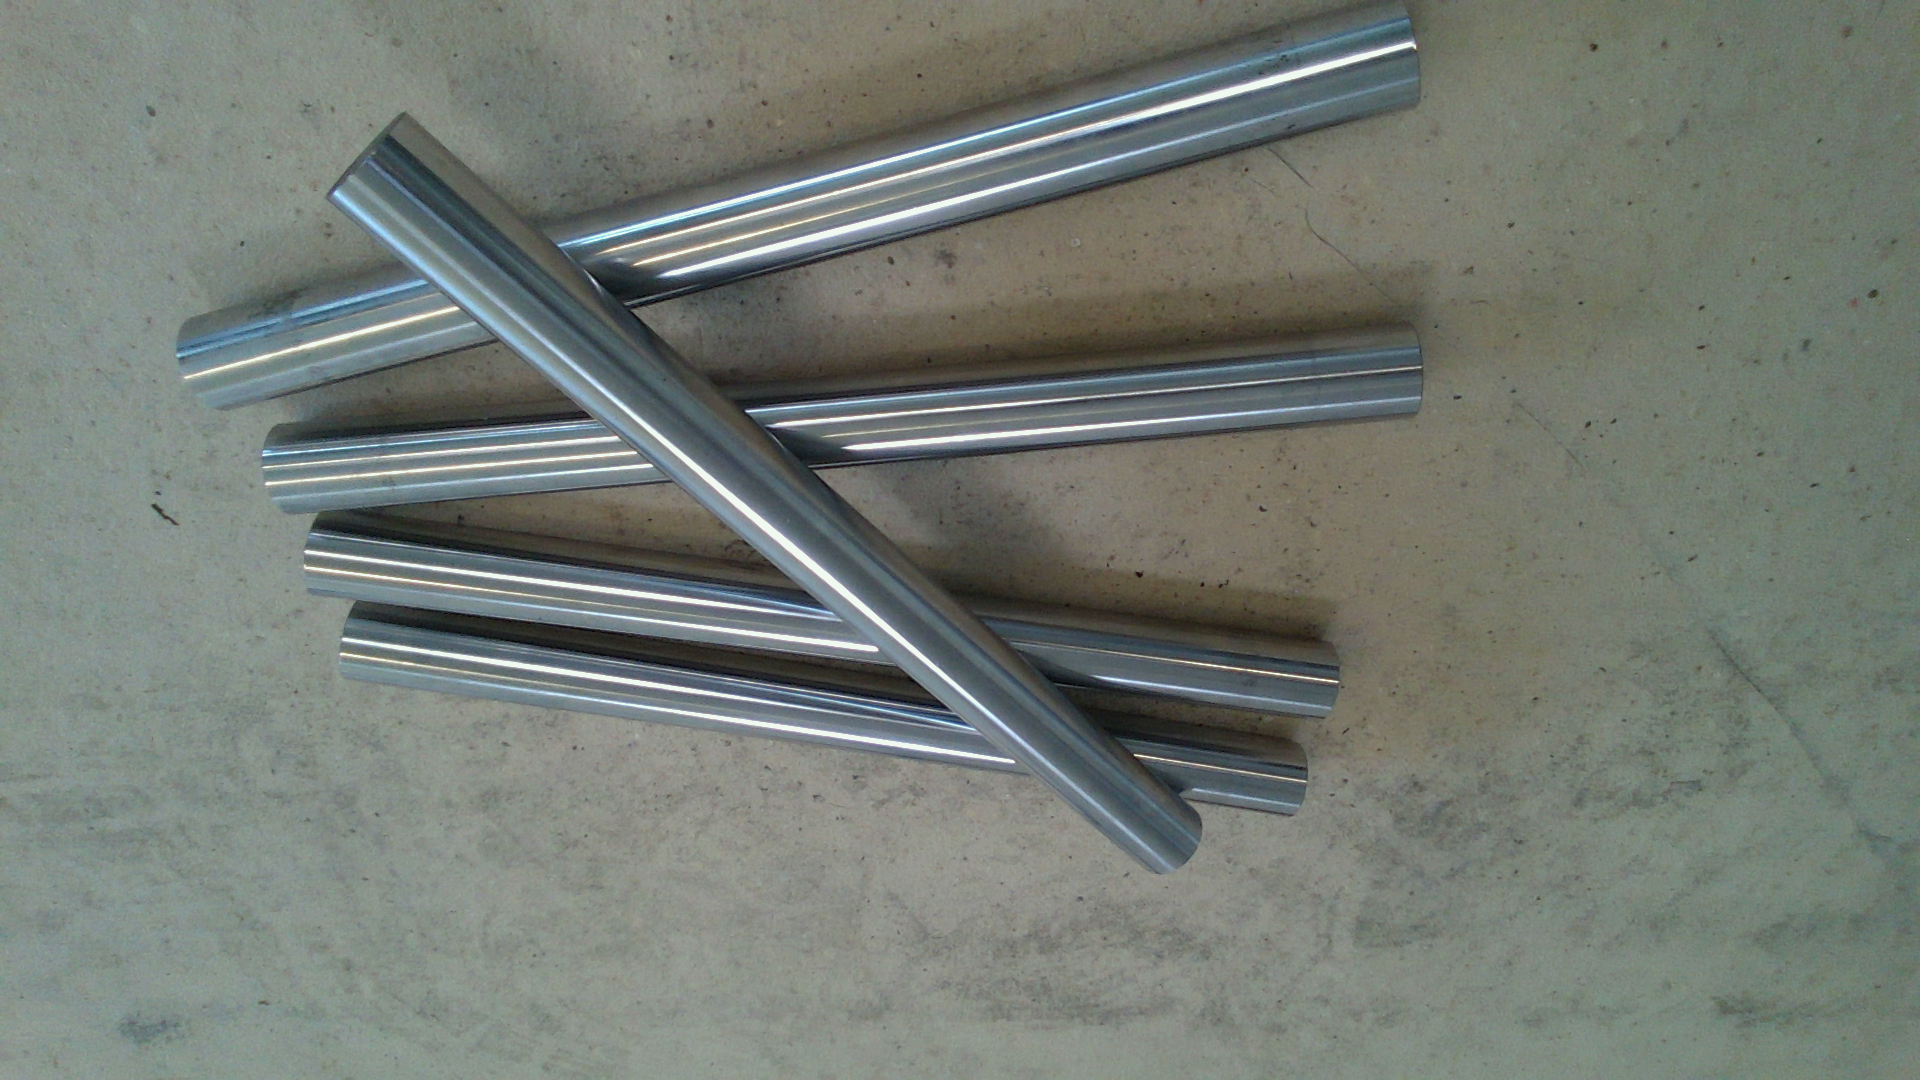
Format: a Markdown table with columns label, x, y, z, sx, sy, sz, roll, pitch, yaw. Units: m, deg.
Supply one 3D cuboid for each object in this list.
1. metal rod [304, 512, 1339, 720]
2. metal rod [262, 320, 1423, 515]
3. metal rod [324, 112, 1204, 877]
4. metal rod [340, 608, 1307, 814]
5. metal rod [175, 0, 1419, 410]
| label | x | y | z | sx | sy | sz | roll | pitch | yaw |
| --- | --- | --- | --- | --- | --- | --- | --- | --- | --- |
| metal rod | -0.035 | 0.024 | 0.410 | 0.300 | 0.025 | 0.025 | 8 | 130 | -7 |
| metal rod | -0.033 | -0.032 | 0.364 | 0.300 | 0.025 | 0.025 | -5 | 130 | 3 |
| metal rod | -0.029 | 0.008 | 0.364 | 0.025 | 0.025 | 0.301 | -32 | 123 | 24 |
| metal rod | -0.036 | 0.054 | 0.436 | 0.300 | 0.025 | 0.025 | 10 | 130 | -8 |
| metal rod | -0.047 | -0.076 | 0.327 | 0.300 | 0.025 | 0.025 | -12 | 129 | 10 |
